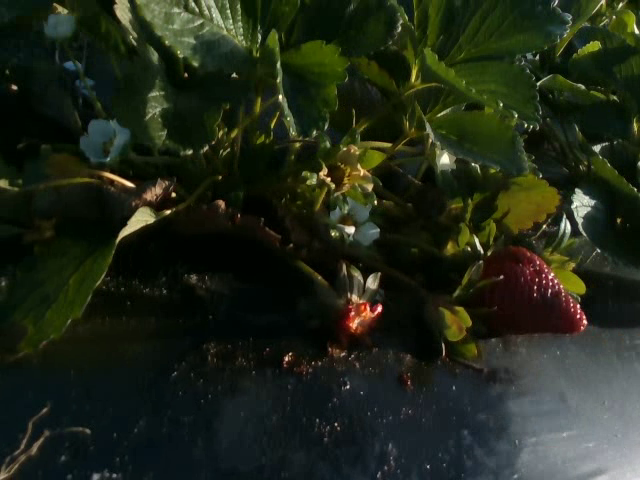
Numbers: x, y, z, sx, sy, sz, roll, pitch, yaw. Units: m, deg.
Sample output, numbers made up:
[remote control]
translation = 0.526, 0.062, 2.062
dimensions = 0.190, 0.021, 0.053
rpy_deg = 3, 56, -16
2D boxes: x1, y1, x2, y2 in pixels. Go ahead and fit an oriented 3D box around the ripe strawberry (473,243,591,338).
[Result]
[ripe strawberry]
translation = 0.098, 0.027, 0.271
dimensions = 0.052, 0.041, 0.052
rpy_deg = -29, 35, -25
